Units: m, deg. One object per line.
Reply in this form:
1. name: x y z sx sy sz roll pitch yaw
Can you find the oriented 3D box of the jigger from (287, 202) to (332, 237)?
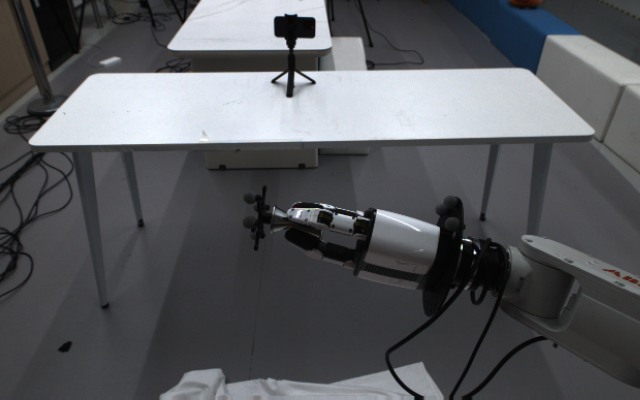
1. jigger: -0.022 0.025 0.650 0.071 0.043 0.043 5 35 2
